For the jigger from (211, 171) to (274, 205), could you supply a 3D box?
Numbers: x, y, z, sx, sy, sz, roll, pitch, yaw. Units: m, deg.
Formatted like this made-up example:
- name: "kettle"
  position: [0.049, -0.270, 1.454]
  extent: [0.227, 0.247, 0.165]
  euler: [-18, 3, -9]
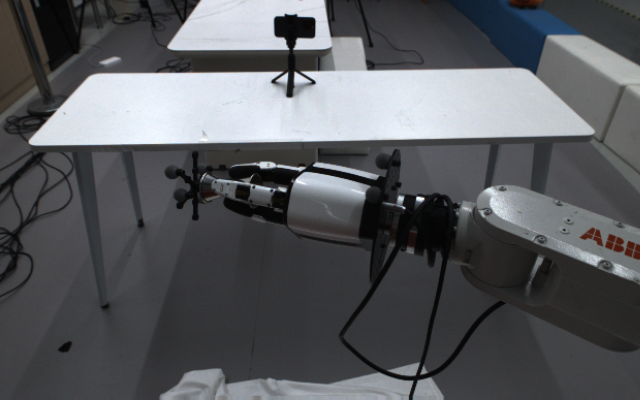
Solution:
- name: "jigger"
  position: [-0.106, -0.019, 0.609]
  extent: [0.071, 0.043, 0.043]
  euler: [3, 34, 16]
